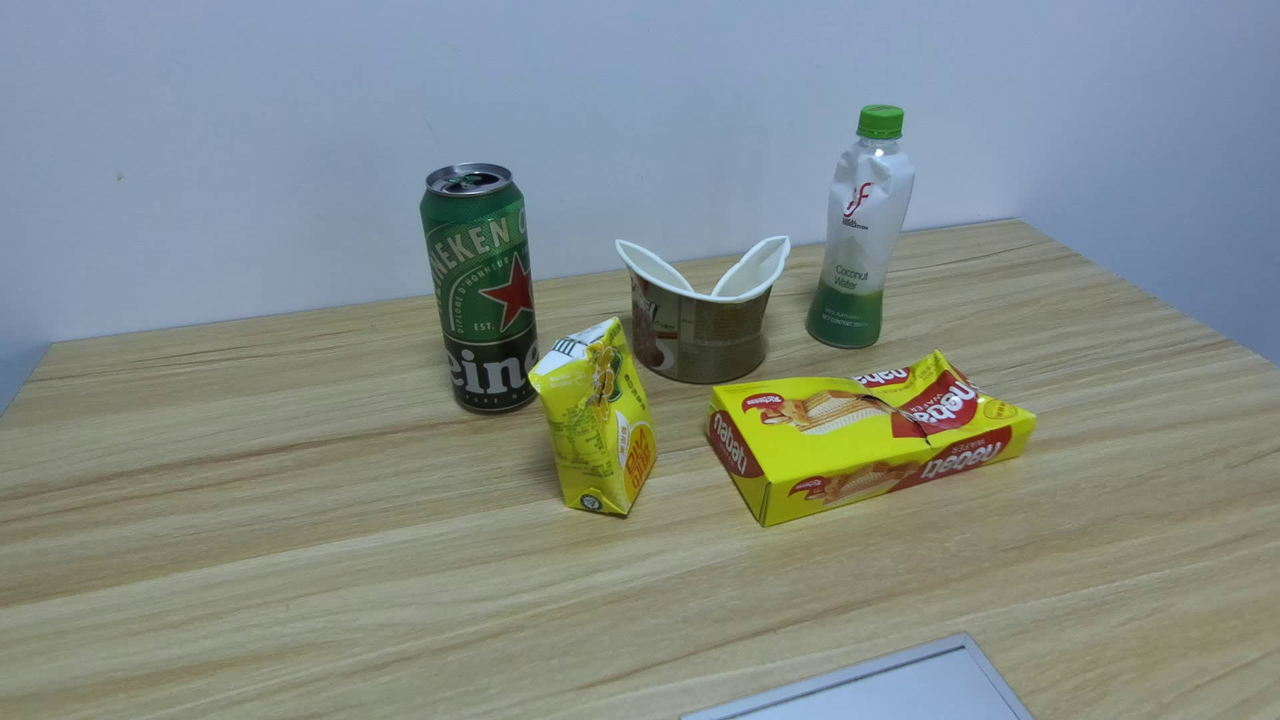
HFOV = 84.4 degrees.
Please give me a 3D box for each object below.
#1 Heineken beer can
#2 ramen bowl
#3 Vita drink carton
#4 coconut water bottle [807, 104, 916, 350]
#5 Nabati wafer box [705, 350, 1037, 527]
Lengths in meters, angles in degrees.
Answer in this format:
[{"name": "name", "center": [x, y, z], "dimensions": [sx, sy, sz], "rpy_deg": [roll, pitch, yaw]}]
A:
[{"name": "Heineken beer can", "center": [-0.108, -0.046, 0.497], "dimensions": [0.067, 0.169, 0.067], "rpy_deg": [0, 34, 1]}, {"name": "ramen bowl", "center": [0.046, -0.044, 0.556], "dimensions": [0.137, 0.098, 0.137], "rpy_deg": [-1, 34, 1]}, {"name": "Vita drink carton", "center": [-0.027, 0.034, 0.437], "dimensions": [0.042, 0.108, 0.087], "rpy_deg": [-1, 29, 24]}, {"name": "coconut water bottle", "center": [0.174, -0.102, 0.558], "dimensions": [0.069, 0.186, 0.069], "rpy_deg": [-1, 33, 1]}, {"name": "Nabati wafer box", "center": [0.156, 0.042, 0.486], "dimensions": [0.205, 0.042, 0.106], "rpy_deg": [-9, 37, -16]}]
